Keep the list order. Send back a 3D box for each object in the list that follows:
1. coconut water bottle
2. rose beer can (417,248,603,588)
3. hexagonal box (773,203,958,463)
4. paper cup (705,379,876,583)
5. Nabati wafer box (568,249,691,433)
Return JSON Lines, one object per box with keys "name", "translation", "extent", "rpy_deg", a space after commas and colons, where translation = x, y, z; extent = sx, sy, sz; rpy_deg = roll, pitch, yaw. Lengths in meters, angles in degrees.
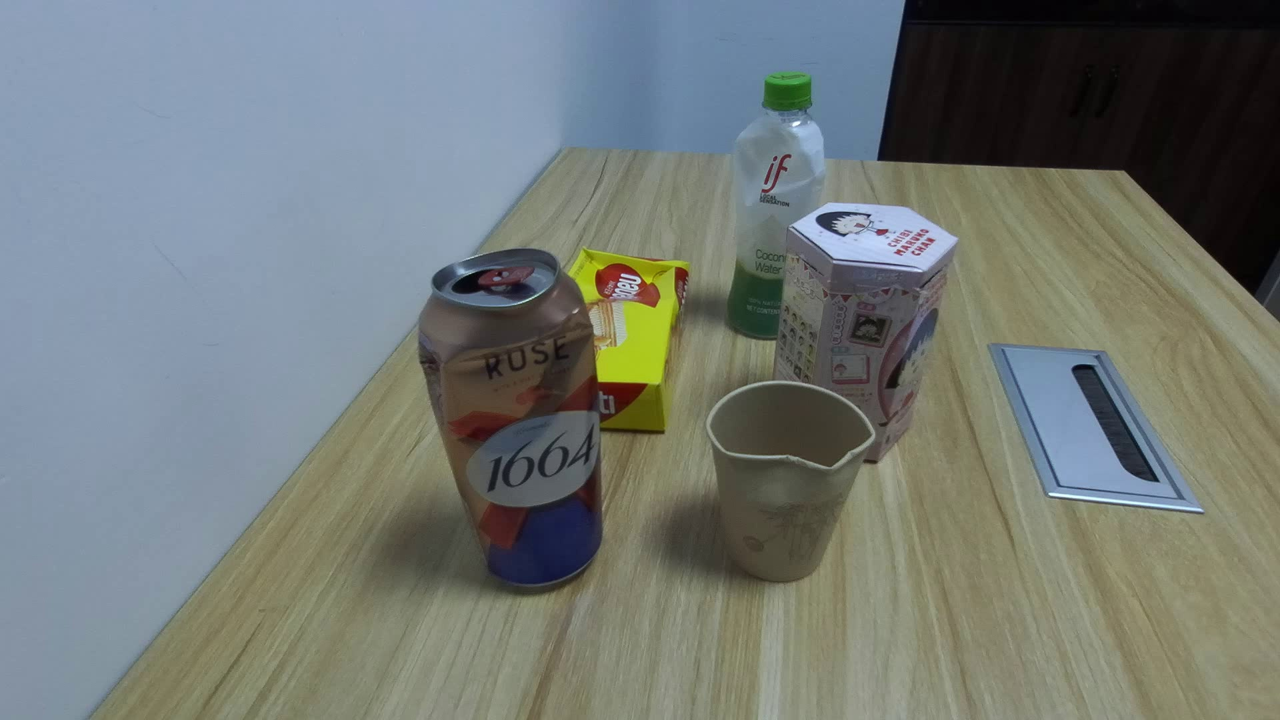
{"name": "coconut water bottle", "translation": [0.098, -0.107, 0.509], "extent": [0.067, 0.187, 0.067], "rpy_deg": [-1, 34, 1]}
{"name": "rose beer can", "translation": [-0.056, 0.035, 0.342], "extent": [0.076, 0.167, 0.065], "rpy_deg": [-13, 29, -11]}
{"name": "hexagonal box", "translation": [0.130, -0.015, 0.423], "extent": [0.083, 0.136, 0.091], "rpy_deg": [24, 43, 33]}
{"name": "paper cup", "translation": [0.069, 0.062, 0.354], "extent": [0.074, 0.081, 0.068], "rpy_deg": [-29, 44, -35]}
{"name": "Nabati wafer box", "translation": [-0.018, -0.027, 0.526], "extent": [0.096, 0.042, 0.203], "rpy_deg": [4, 35, 8]}
